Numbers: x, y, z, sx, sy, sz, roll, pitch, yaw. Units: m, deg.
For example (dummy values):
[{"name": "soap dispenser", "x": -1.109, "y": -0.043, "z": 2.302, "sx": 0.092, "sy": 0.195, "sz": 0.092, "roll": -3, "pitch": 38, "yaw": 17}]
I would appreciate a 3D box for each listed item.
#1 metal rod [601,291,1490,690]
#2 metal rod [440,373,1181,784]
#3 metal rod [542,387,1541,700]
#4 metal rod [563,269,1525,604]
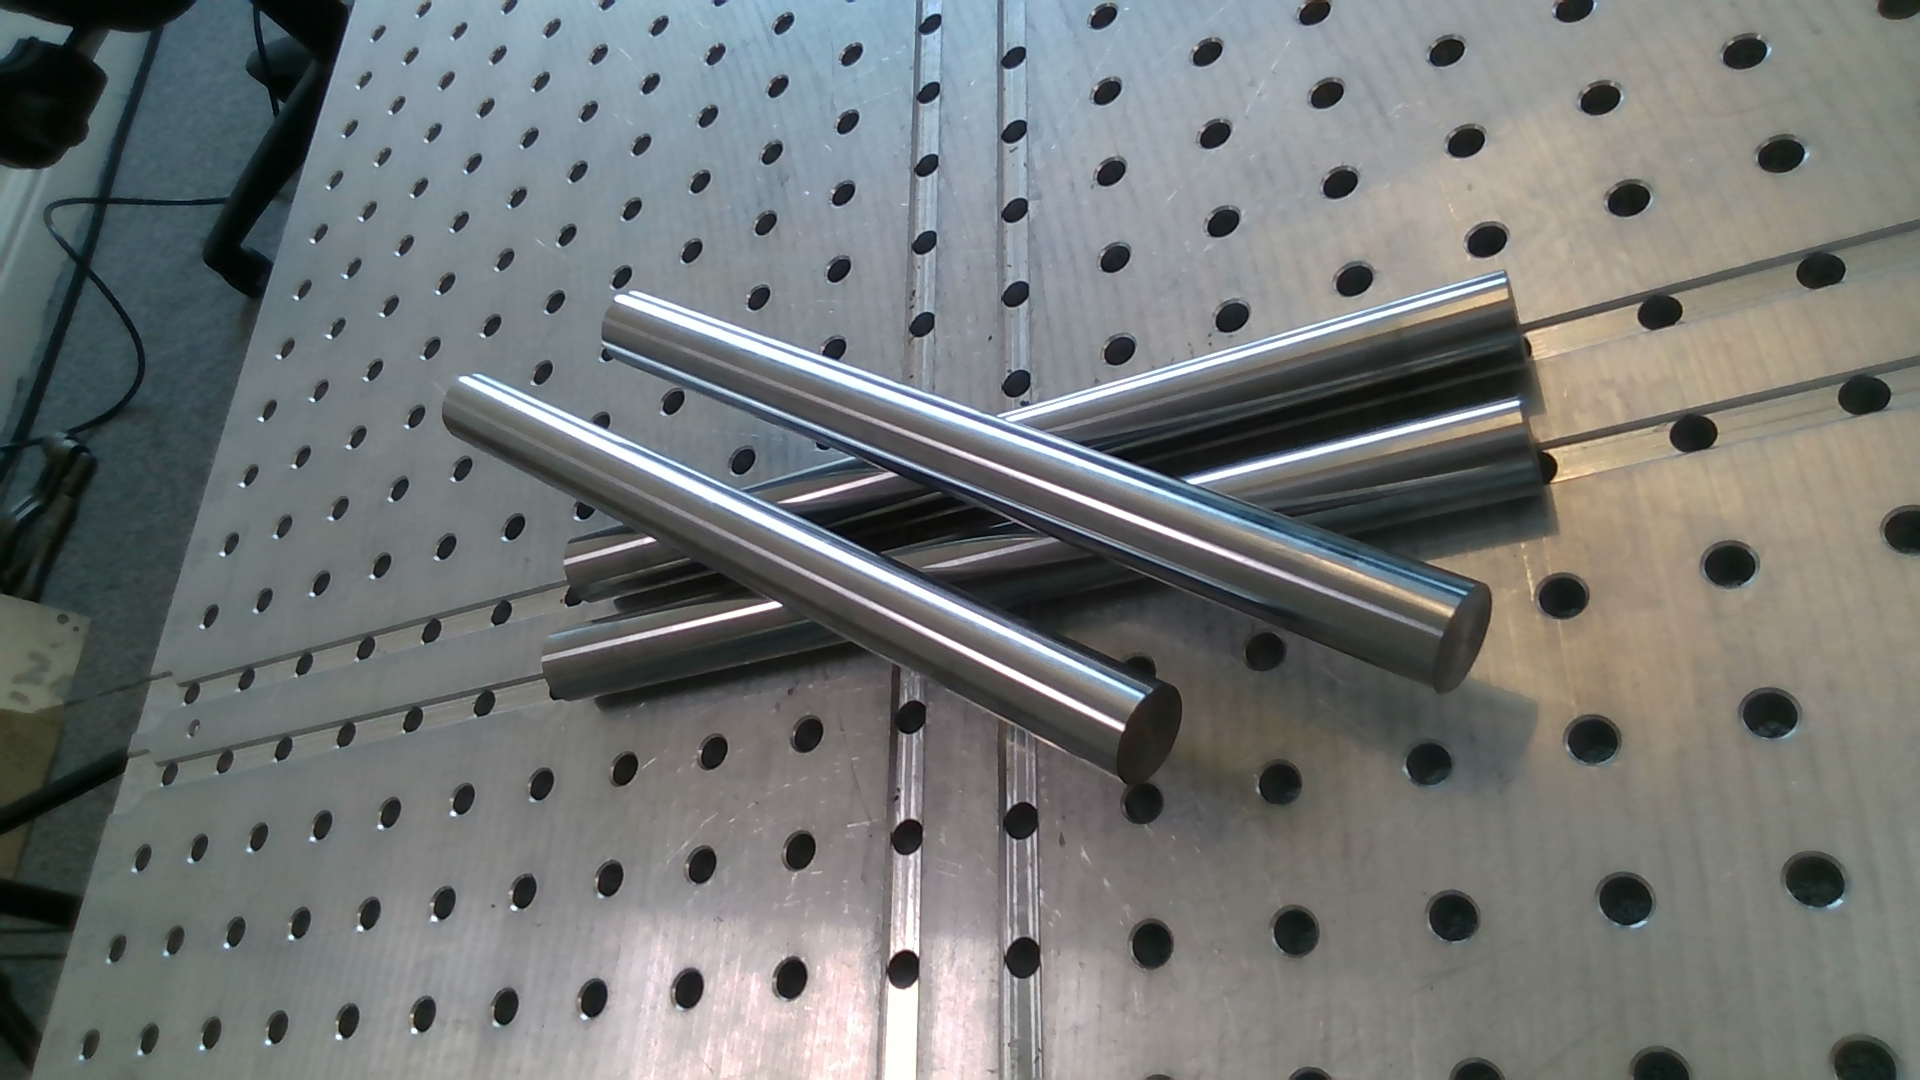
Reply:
[{"name": "metal rod", "x": -0.004, "y": -0.027, "z": 0.381, "sx": 0.300, "sy": 0.025, "sz": 0.025, "roll": 23, "pitch": 79, "yaw": 38}, {"name": "metal rod", "x": -0.066, "y": -0.002, "z": 0.405, "sx": 0.300, "sy": 0.025, "sz": 0.025, "roll": 23, "pitch": 79, "yaw": 38}, {"name": "metal rod", "x": 0.003, "y": 0.008, "z": 0.390, "sx": 0.300, "sy": 0.025, "sz": 0.025, "roll": -14, "pitch": 59, "yaw": 25}, {"name": "metal rod", "x": 0.005, "y": -0.023, "z": 0.405, "sx": 0.300, "sy": 0.025, "sz": 0.025, "roll": -14, "pitch": 59, "yaw": 25}]
